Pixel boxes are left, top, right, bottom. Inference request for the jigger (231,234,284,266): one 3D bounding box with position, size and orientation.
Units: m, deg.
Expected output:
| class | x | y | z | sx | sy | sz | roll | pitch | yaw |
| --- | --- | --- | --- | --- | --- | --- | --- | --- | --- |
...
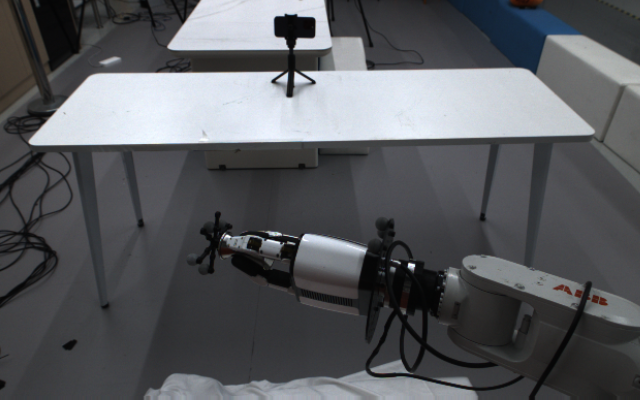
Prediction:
| class | x | y | z | sx | sy | sz | roll | pitch | yaw |
| --- | --- | --- | --- | --- | --- | --- | --- | --- | --- |
| jigger | -0.093 | 0.064 | 0.659 | 0.071 | 0.043 | 0.043 | 10 | 35 | 16 |
